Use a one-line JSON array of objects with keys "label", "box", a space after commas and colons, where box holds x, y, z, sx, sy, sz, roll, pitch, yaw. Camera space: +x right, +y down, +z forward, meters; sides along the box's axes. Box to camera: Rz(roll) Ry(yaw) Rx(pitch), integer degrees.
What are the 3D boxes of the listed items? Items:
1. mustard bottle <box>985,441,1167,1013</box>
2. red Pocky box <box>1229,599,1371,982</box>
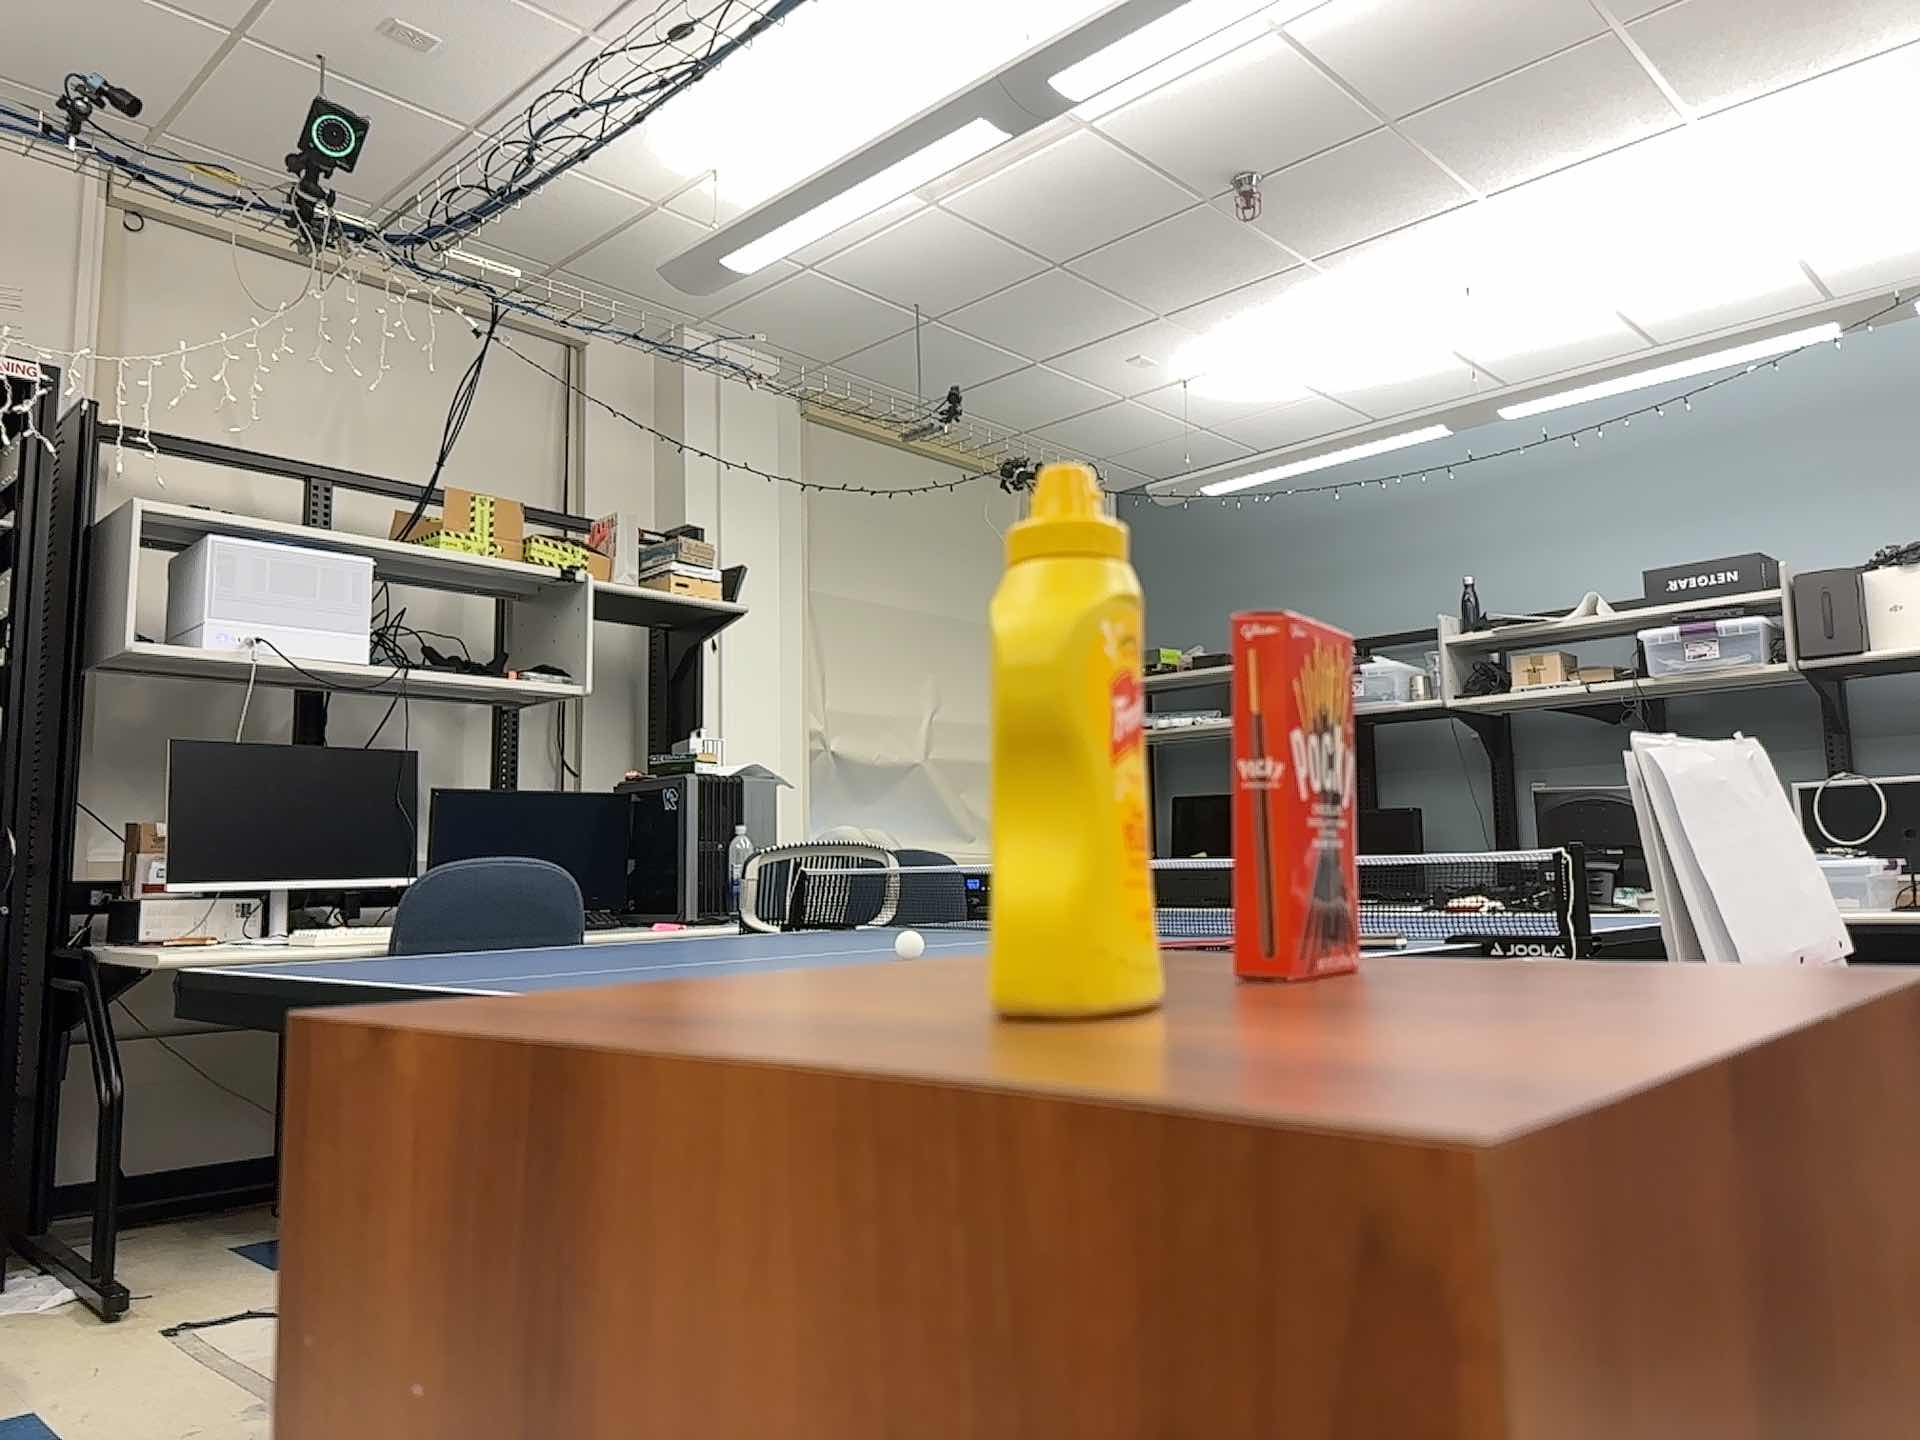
[{"label": "mustard bottle", "box": [0.036, -0.001, 0.437, 0.054, 0.184, 0.092, -4, -9, 25]}, {"label": "red Pocky box", "box": [0.144, 0.031, 0.568, 0.028, 0.155, 0.082, -6, -9, 38]}]
